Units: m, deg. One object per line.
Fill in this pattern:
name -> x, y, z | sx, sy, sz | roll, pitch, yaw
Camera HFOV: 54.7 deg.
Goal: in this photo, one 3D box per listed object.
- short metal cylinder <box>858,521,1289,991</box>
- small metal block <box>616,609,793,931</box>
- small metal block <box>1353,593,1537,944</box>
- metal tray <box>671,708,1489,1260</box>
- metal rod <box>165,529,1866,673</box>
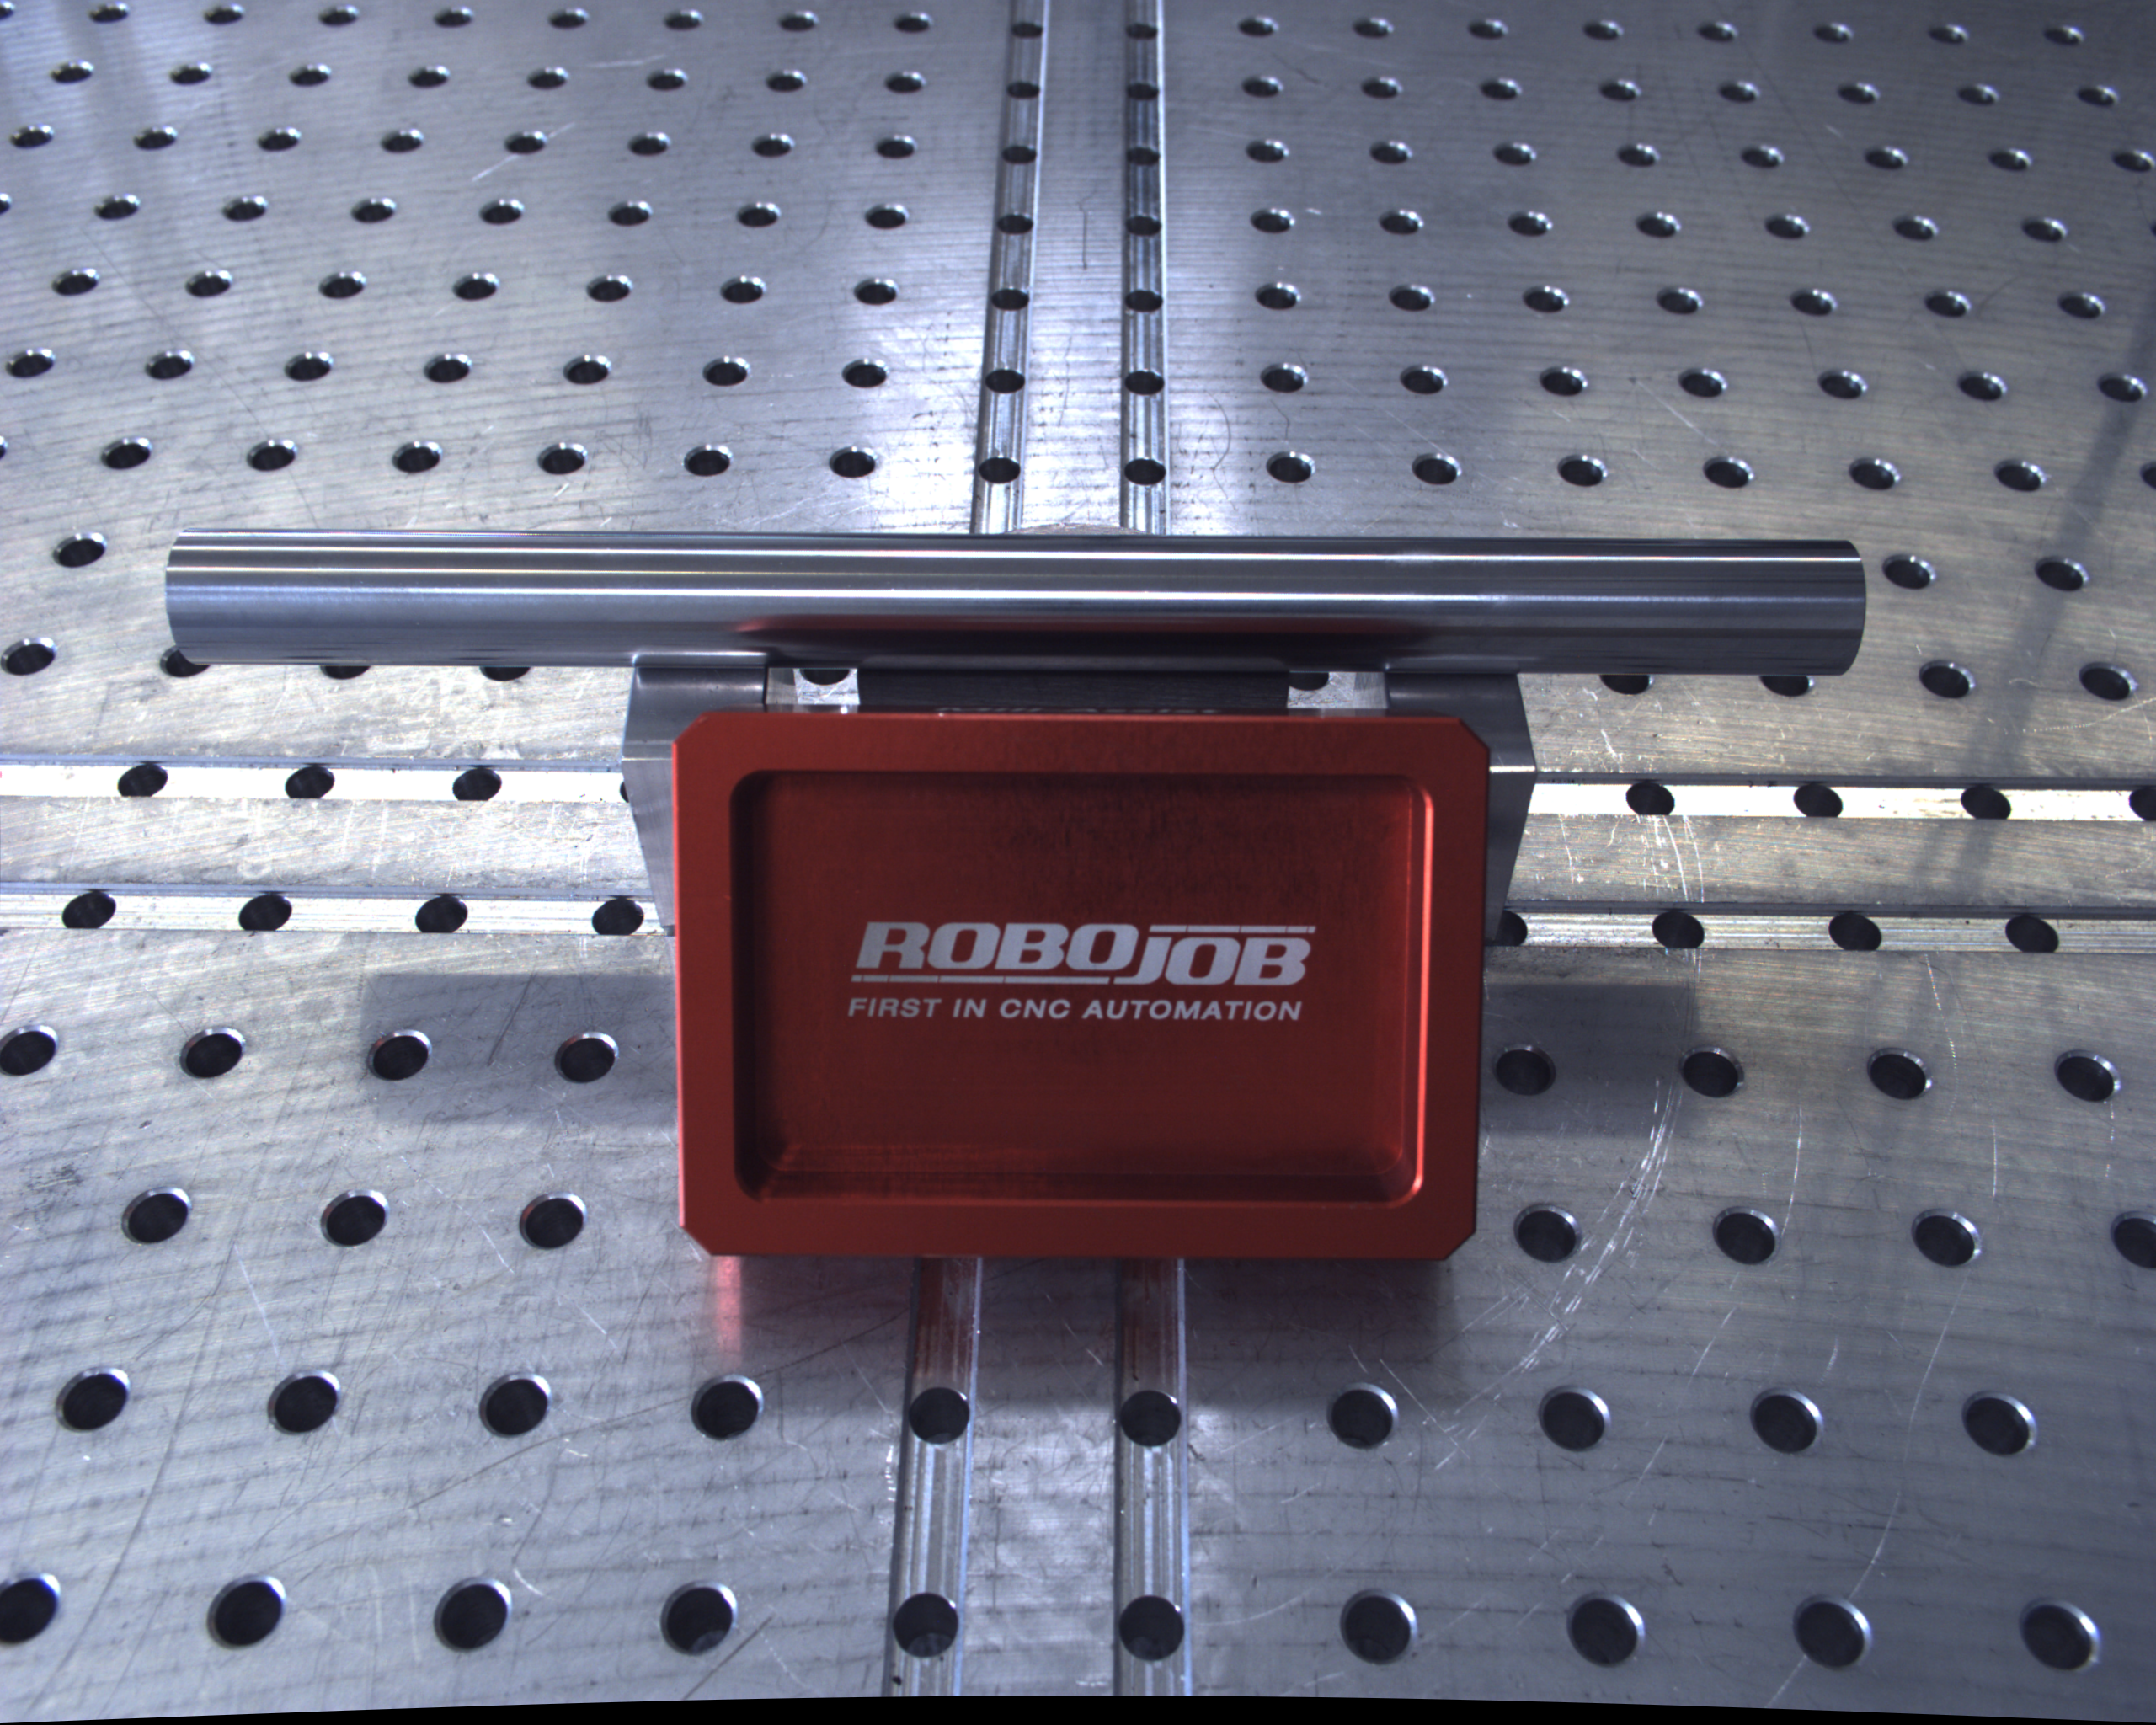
short metal cylinder -> -0.001, -0.022, 0.409 | 0.080, 0.050, 0.080 | 0, 50, 0
small metal block -> -0.070, -0.022, 0.409 | 0.025, 0.050, 0.050 | -1, 50, 0
small metal block -> 0.069, -0.019, 0.408 | 0.025, 0.050, 0.050 | -1, 50, 0
metal tray -> 0.000, 0.019, 0.352 | 0.131, 0.089, 0.030 | 0, 7, 0
metal rod -> -0.011, -0.048, 0.382 | 0.302, 0.025, 0.025 | 0, 50, 0
